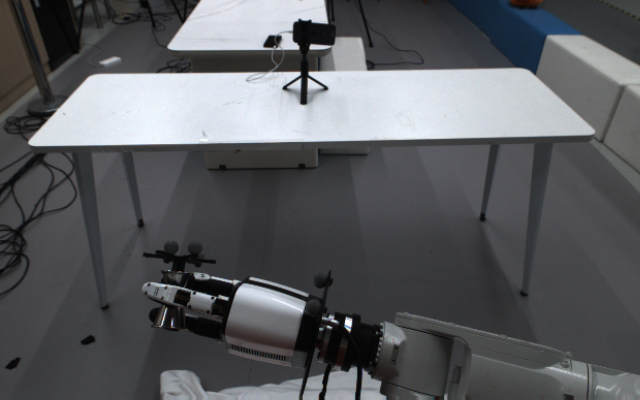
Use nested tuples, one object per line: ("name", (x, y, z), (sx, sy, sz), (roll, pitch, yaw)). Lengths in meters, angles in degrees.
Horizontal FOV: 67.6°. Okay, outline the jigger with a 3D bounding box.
("jigger", (-0.180, 0.123, 0.595), (0.043, 0.043, 0.071), (4, 75, 2))
